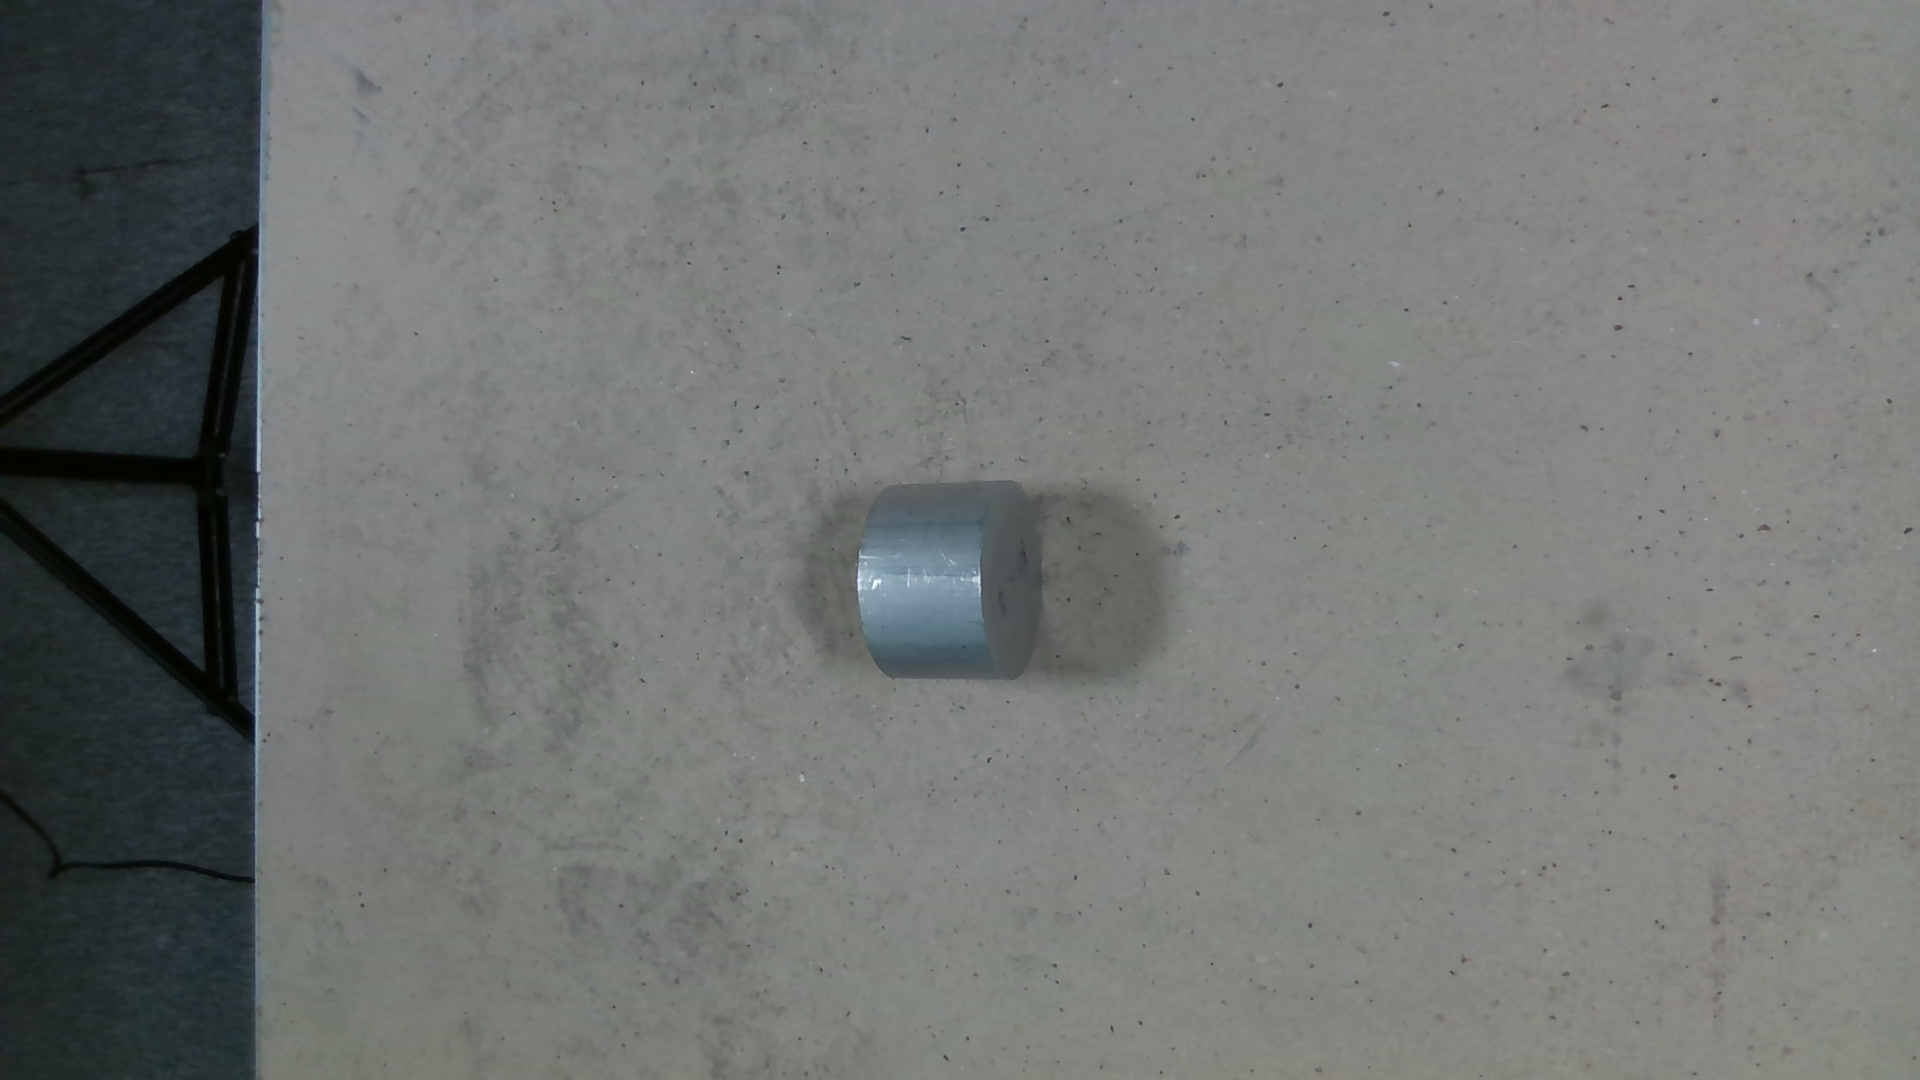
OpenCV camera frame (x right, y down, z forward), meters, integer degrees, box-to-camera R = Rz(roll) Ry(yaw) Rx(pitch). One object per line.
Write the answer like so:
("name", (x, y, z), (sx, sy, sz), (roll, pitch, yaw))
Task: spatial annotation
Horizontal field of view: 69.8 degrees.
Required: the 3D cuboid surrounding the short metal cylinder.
("short metal cylinder", (-0.002, 0.017, 0.558), (0.050, 0.080, 0.080), (-1, 90, 20))
